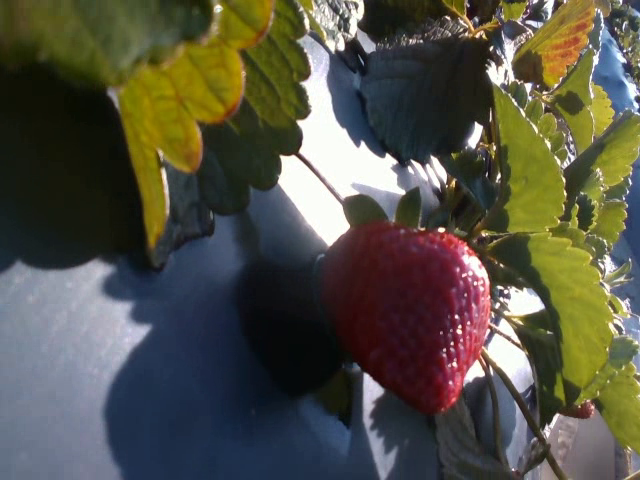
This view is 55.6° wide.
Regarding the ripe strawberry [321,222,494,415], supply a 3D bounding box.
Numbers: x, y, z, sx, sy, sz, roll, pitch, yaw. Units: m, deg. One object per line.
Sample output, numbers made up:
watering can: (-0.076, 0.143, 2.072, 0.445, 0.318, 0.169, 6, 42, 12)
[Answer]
ripe strawberry: (0.018, 0.017, 0.131, 0.044, 0.042, 0.056, 8, 37, -3)
